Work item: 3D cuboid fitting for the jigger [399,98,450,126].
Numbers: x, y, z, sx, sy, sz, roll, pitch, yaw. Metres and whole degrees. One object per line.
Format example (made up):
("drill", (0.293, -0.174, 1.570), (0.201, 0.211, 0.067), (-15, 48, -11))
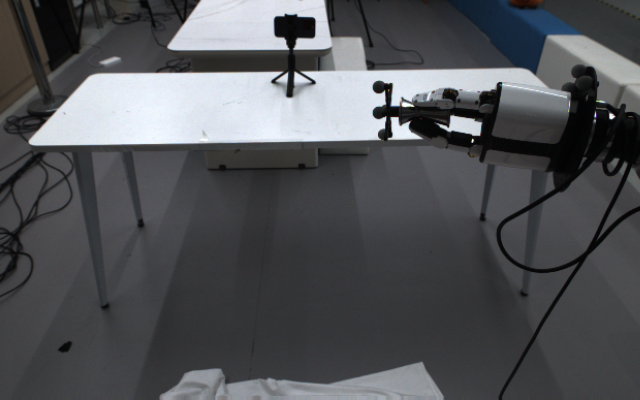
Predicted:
("jigger", (0.153, -0.127, 0.677), (0.071, 0.043, 0.043), (3, 34, 16))
